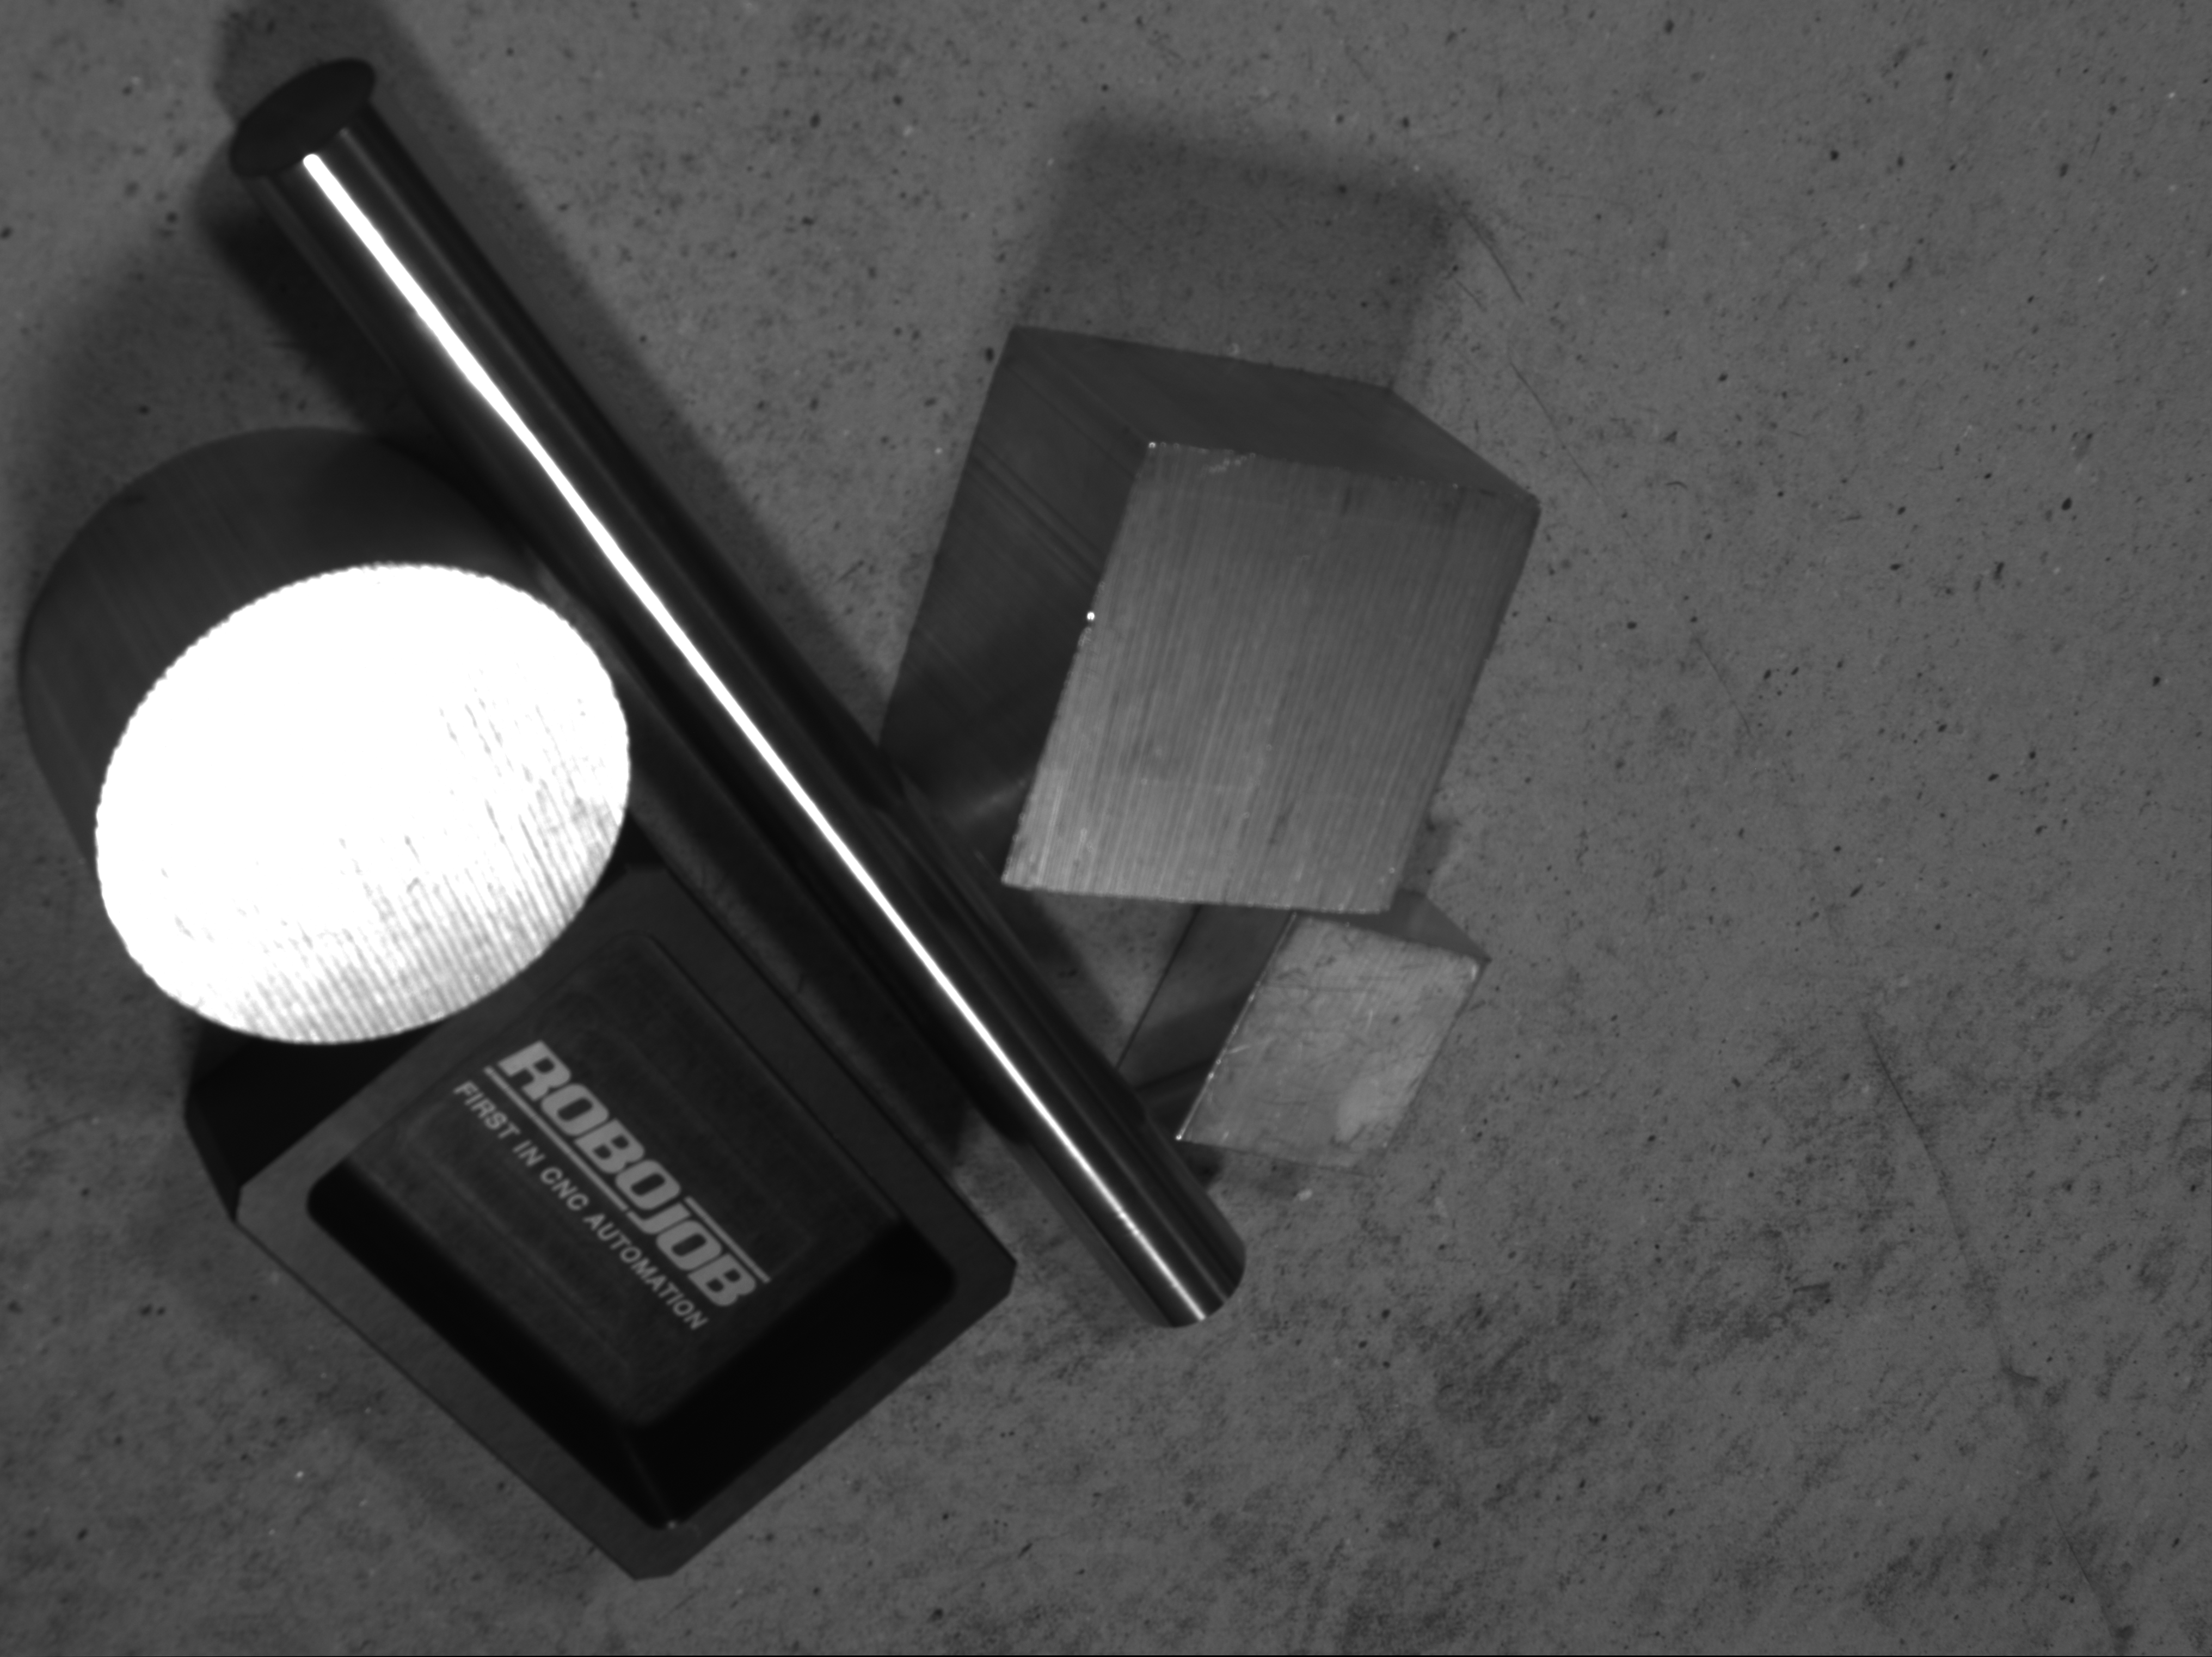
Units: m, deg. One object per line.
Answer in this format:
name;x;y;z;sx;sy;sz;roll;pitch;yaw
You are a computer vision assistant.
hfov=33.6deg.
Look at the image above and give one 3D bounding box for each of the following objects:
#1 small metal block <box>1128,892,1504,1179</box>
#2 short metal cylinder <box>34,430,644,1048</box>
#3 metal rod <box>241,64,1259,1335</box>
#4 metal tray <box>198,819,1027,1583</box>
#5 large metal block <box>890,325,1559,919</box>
small metal block;0.040;0.036;0.697;0.050;0.025;0.050;14;110;-36
short metal cylinder;-0.117;-0.014;0.558;0.080;0.050;0.080;-15;125;-22
metal rod;-0.047;-0.006;0.619;0.025;0.025;0.301;-38;130;-4
metal tray;-0.083;0.065;0.640;0.090;0.030;0.130;-39;130;-3
large metal block;0.019;-0.034;0.625;0.080;0.050;0.080;5;116;-32
